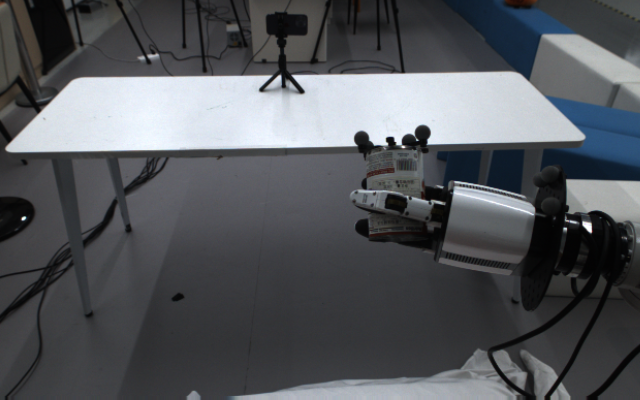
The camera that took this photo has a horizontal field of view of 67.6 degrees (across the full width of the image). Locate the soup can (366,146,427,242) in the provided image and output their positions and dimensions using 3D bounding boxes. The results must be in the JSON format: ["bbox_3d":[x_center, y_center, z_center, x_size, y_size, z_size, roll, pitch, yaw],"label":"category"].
[{"bbox_3d":[0.089,-0.004,0.553,0.067,0.101,0.067,-1,-9,0],"label":"soup can"}]
